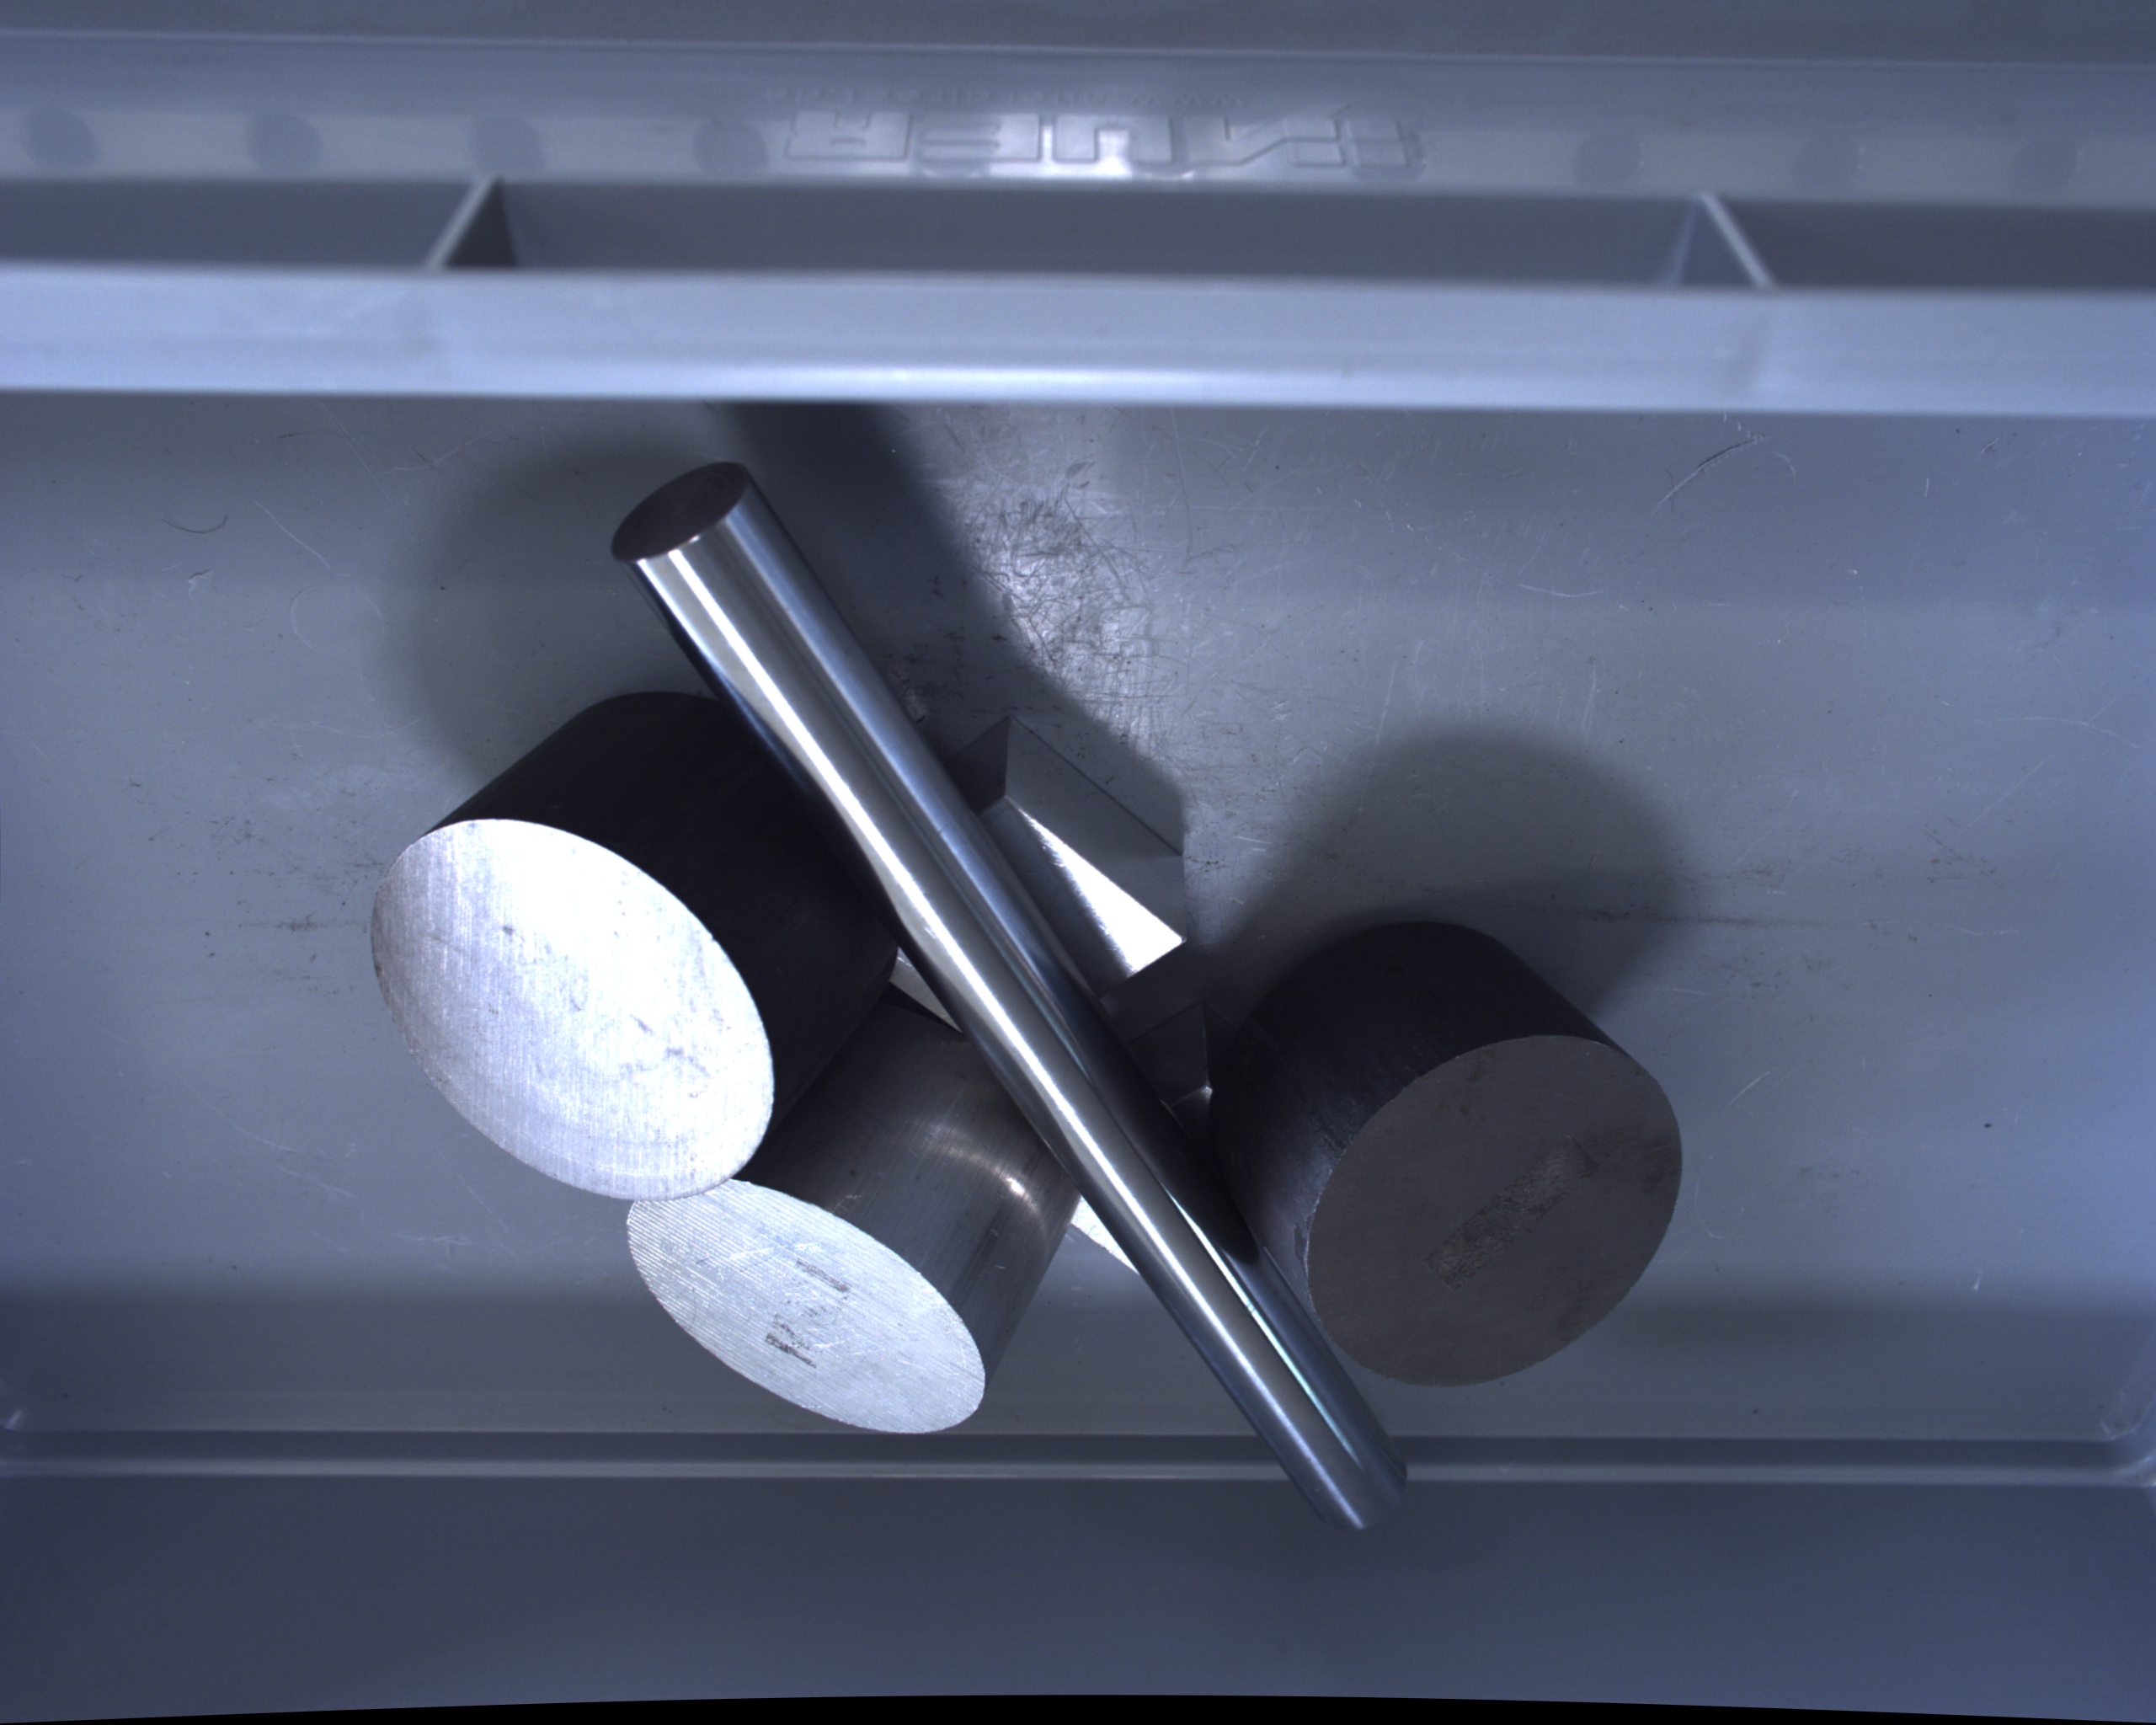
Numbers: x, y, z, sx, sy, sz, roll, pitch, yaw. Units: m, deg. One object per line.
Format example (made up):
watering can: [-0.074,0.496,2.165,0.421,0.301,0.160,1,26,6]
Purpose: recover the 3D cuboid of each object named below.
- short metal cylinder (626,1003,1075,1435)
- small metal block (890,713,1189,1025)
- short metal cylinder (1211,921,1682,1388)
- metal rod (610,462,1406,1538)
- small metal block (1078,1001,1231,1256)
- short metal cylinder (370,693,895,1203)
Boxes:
short metal cylinder: [-0.046,0.074,0.435,0.080,0.050,0.079,16,137,16]
small metal block: [-0.014,0.006,0.412,0.050,0.025,0.050,-36,122,26]
short metal cylinder: [0.074,0.059,0.424,0.081,0.050,0.079,-8,116,-17]
metal rod: [0.002,0.048,0.414,0.025,0.025,0.299,-20,127,16]
small metal block: [0.023,0.064,0.462,0.050,0.025,0.050,-33,123,24]
short metal cylinder: [-0.081,0.015,0.385,0.080,0.050,0.079,11,123,17]
